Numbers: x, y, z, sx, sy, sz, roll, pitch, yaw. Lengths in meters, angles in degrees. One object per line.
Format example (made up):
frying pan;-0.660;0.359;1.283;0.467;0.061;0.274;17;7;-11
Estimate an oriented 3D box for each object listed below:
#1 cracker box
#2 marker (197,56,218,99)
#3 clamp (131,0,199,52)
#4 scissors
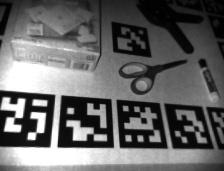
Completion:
cracker box;-0.118;-0.146;0.470;0.165;0.072;0.212;7;60;-14
marker;0.241;-0.023;0.550;0.020;0.019;0.120;3;61;-16
clamp;0.145;-0.198;0.621;0.203;0.036;0.166;32;56;0
scissors;0.103;-0.041;0.515;0.205;0.016;0.087;-22;70;-29
